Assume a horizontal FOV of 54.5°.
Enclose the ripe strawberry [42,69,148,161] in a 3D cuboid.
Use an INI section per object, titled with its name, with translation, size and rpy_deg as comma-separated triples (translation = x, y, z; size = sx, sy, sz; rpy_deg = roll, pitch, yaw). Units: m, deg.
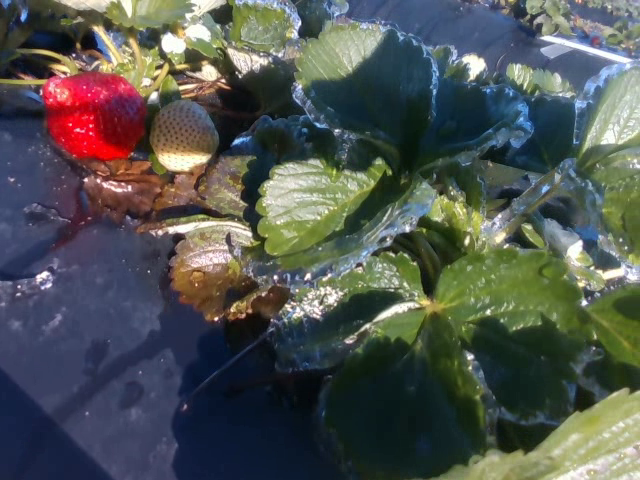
[ripe strawberry]
translation = -0.087, -0.047, 0.227
size = 0.040, 0.042, 0.053
rpy_deg = 0, -5, 8
